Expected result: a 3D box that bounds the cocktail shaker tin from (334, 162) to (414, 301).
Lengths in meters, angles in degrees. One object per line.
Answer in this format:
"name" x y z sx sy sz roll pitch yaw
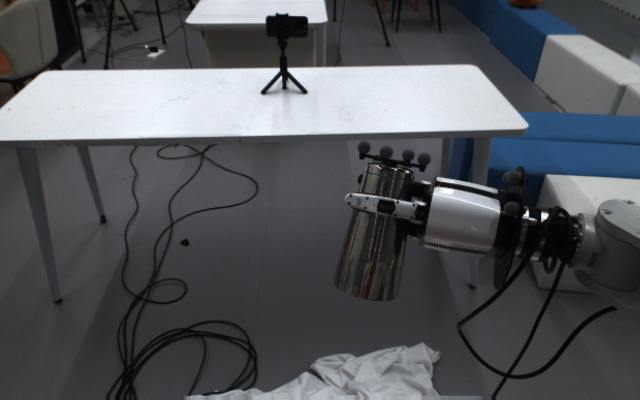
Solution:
"cocktail shaker tin" 0.082 0.036 0.656 0.093 0.170 0.093 10 9 -2
